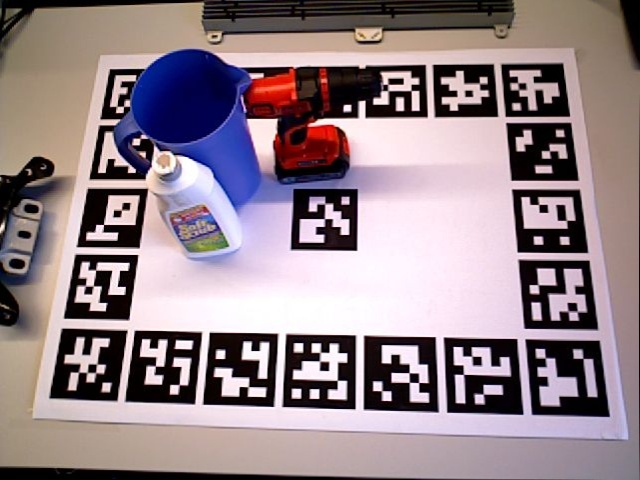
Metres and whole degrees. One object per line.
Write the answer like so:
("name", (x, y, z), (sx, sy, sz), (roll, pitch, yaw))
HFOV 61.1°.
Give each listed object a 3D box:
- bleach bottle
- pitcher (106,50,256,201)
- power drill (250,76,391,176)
("bleach bottle", (-0.179, -0.045, 0.683), (0.102, 0.253, 0.067), (-8, 71, 1))
("pitcher", (-0.166, -0.135, 0.731), (0.188, 0.245, 0.133), (-26, 73, -5))
("power drill", (0.002, -0.151, 0.733), (0.183, 0.189, 0.057), (-4, 74, -4))
